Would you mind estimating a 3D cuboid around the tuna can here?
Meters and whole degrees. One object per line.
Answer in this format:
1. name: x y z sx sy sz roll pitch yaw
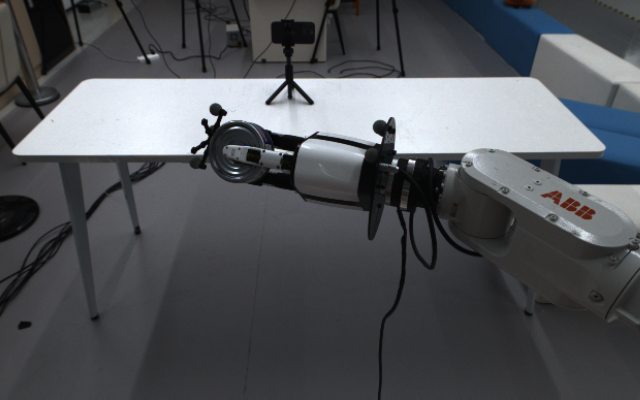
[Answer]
1. tuna can: -0.107 -0.066 0.662 0.085 0.085 0.034 12 5 14
